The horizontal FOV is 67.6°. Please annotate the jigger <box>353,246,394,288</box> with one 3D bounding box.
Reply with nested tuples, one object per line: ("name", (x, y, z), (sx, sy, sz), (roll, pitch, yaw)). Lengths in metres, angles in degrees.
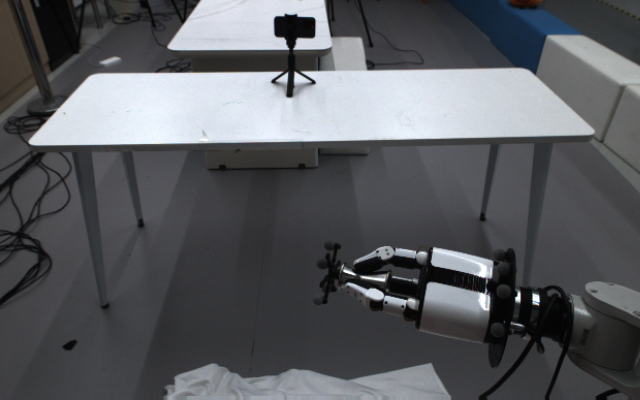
("jigger", (0.070, 0.111, 0.687), (0.071, 0.043, 0.043), (9, 35, 17))
